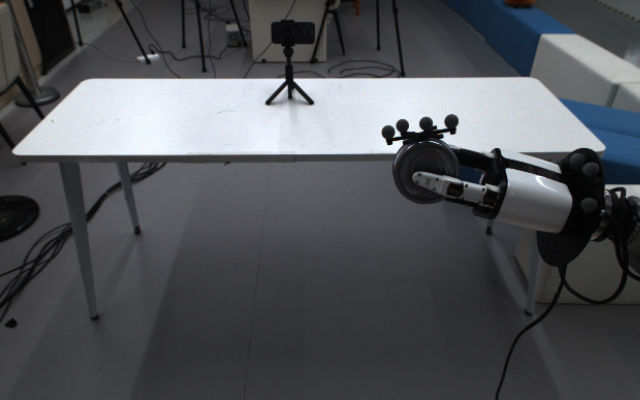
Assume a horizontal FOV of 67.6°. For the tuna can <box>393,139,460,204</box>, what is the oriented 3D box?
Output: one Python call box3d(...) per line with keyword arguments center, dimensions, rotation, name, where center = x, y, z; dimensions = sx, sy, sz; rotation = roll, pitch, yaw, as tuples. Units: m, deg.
box3d(center=(0.140, -0.040, 0.634), dimensions=(0.085, 0.085, 0.034), rotation=(6, 18, 5), name="tuna can")
